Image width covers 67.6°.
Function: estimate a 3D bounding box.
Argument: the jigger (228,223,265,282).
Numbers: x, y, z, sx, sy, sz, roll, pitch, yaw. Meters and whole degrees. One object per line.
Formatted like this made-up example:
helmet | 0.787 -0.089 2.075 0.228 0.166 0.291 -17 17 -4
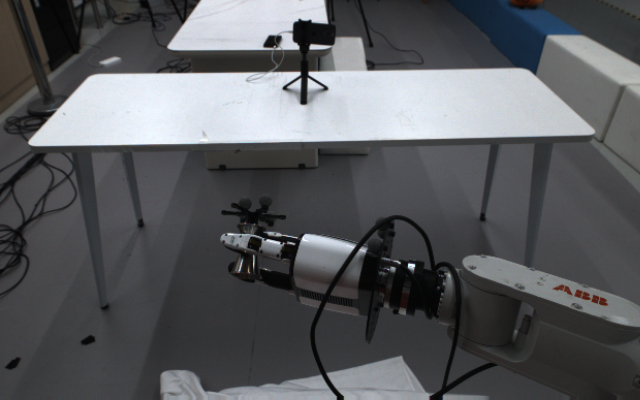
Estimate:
jigger | -0.098 0.069 0.649 0.043 0.043 0.071 5 71 4
